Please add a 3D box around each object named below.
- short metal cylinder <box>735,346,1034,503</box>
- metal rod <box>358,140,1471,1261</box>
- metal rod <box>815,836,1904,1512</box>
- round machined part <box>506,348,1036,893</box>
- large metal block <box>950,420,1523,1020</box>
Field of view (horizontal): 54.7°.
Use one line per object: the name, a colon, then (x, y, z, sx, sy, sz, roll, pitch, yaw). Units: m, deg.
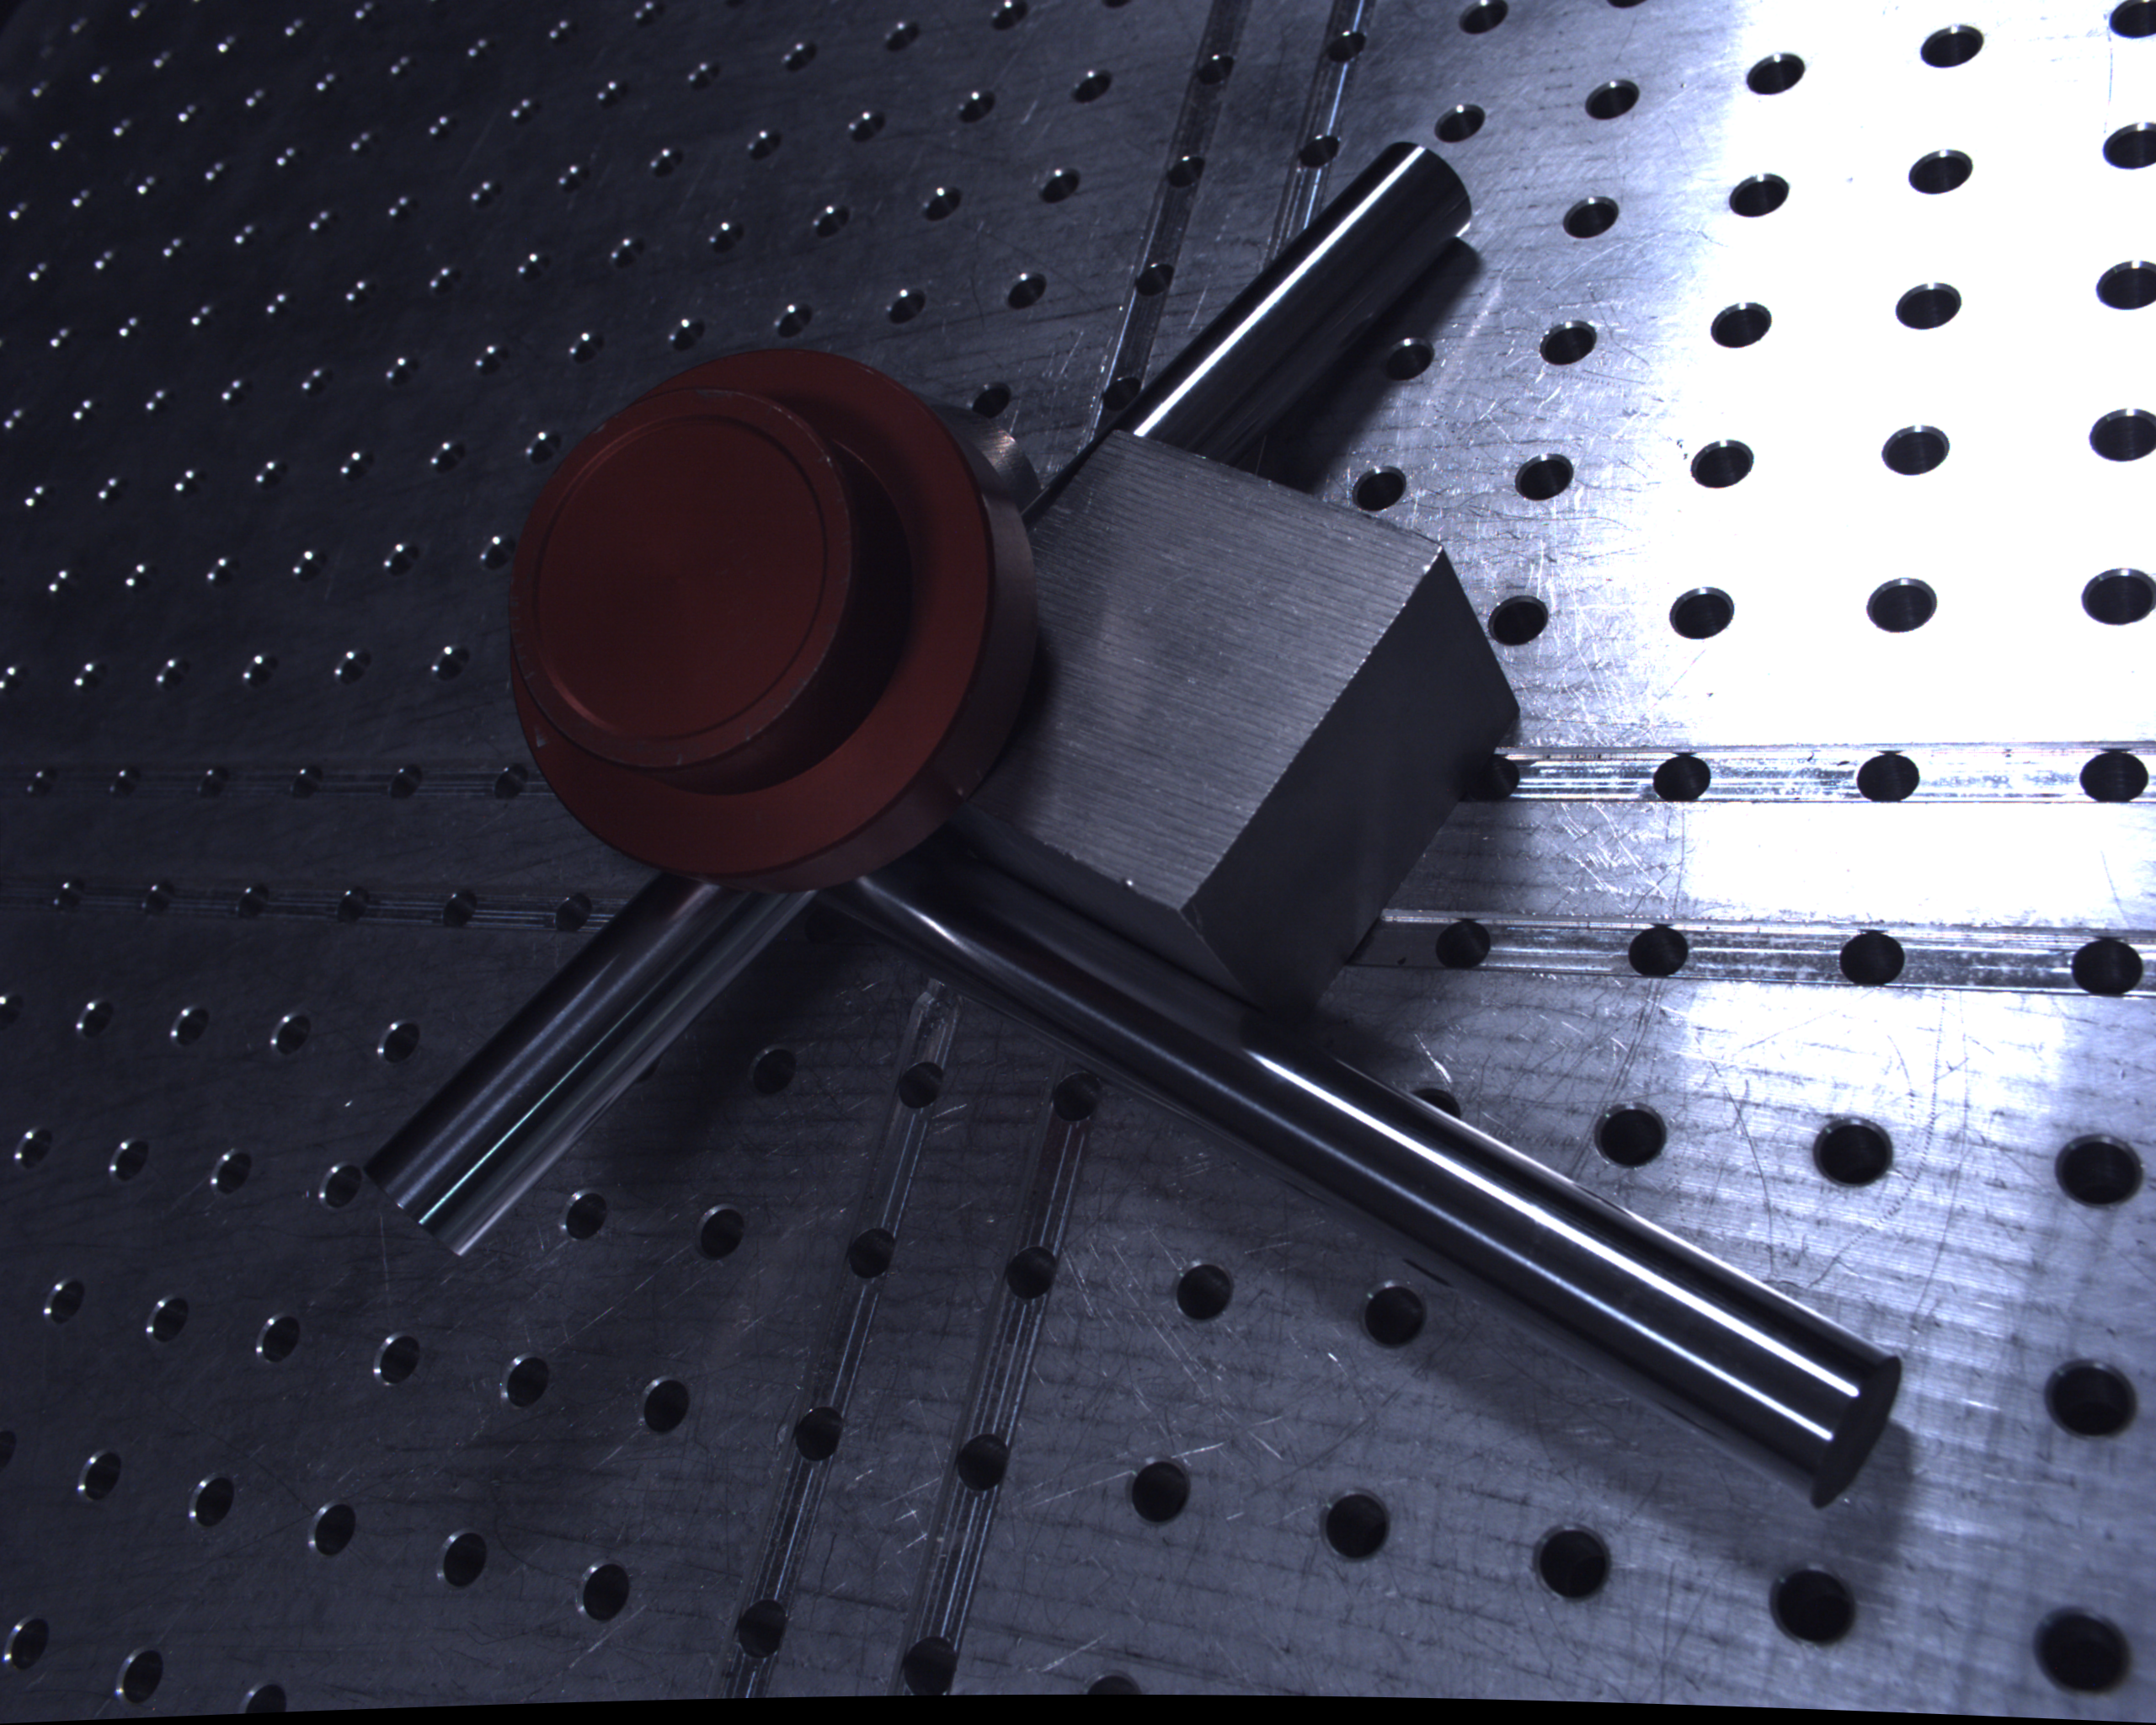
short metal cylinder: (-0.053, -0.063, 0.437, 0.050, 0.080, 0.080, 28, 77, 37)
metal rod: (-0.023, -0.042, 0.420, 0.025, 0.025, 0.301, 31, 71, 37)
metal rod: (0.005, 0.026, 0.387, 0.300, 0.025, 0.025, 28, 77, 37)
round machined part: (-0.061, -0.045, 0.371, 0.098, 0.042, 0.097, -3, 80, 20)
large metal block: (0.022, -0.027, 0.391, 0.080, 0.050, 0.080, 29, 77, 37)
